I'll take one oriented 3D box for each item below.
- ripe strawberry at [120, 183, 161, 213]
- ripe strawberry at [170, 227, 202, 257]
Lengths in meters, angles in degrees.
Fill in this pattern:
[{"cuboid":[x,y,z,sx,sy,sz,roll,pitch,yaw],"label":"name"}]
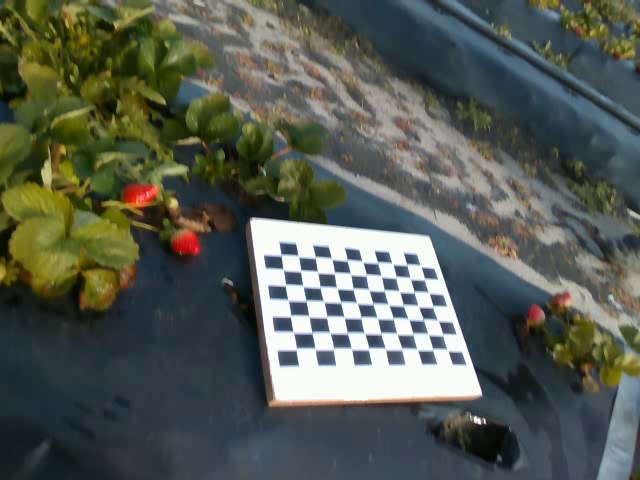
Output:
[{"cuboid":[-0.227,-0.061,0.753,0.049,0.040,0.032,-29,-27,5],"label":"ripe strawberry"},{"cuboid":[-0.166,0.004,0.735,0.035,0.043,0.029,-34,-20,-42],"label":"ripe strawberry"}]
